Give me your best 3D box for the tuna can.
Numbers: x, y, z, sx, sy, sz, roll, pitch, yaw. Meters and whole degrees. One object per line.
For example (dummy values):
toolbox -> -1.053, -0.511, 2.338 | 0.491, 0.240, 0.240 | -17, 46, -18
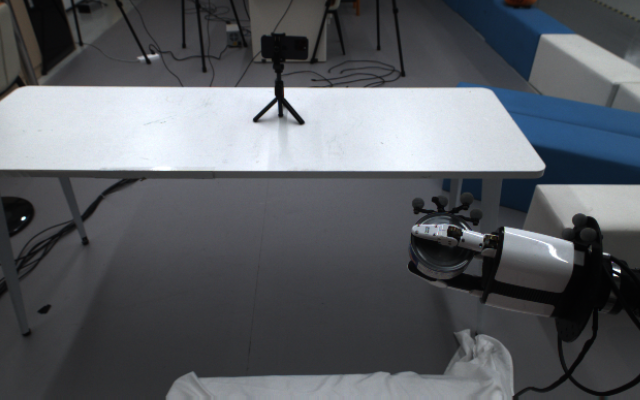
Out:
tuna can -> 0.163, 0.055, 0.644 | 0.085, 0.034, 0.085 | -2, 57, 3
